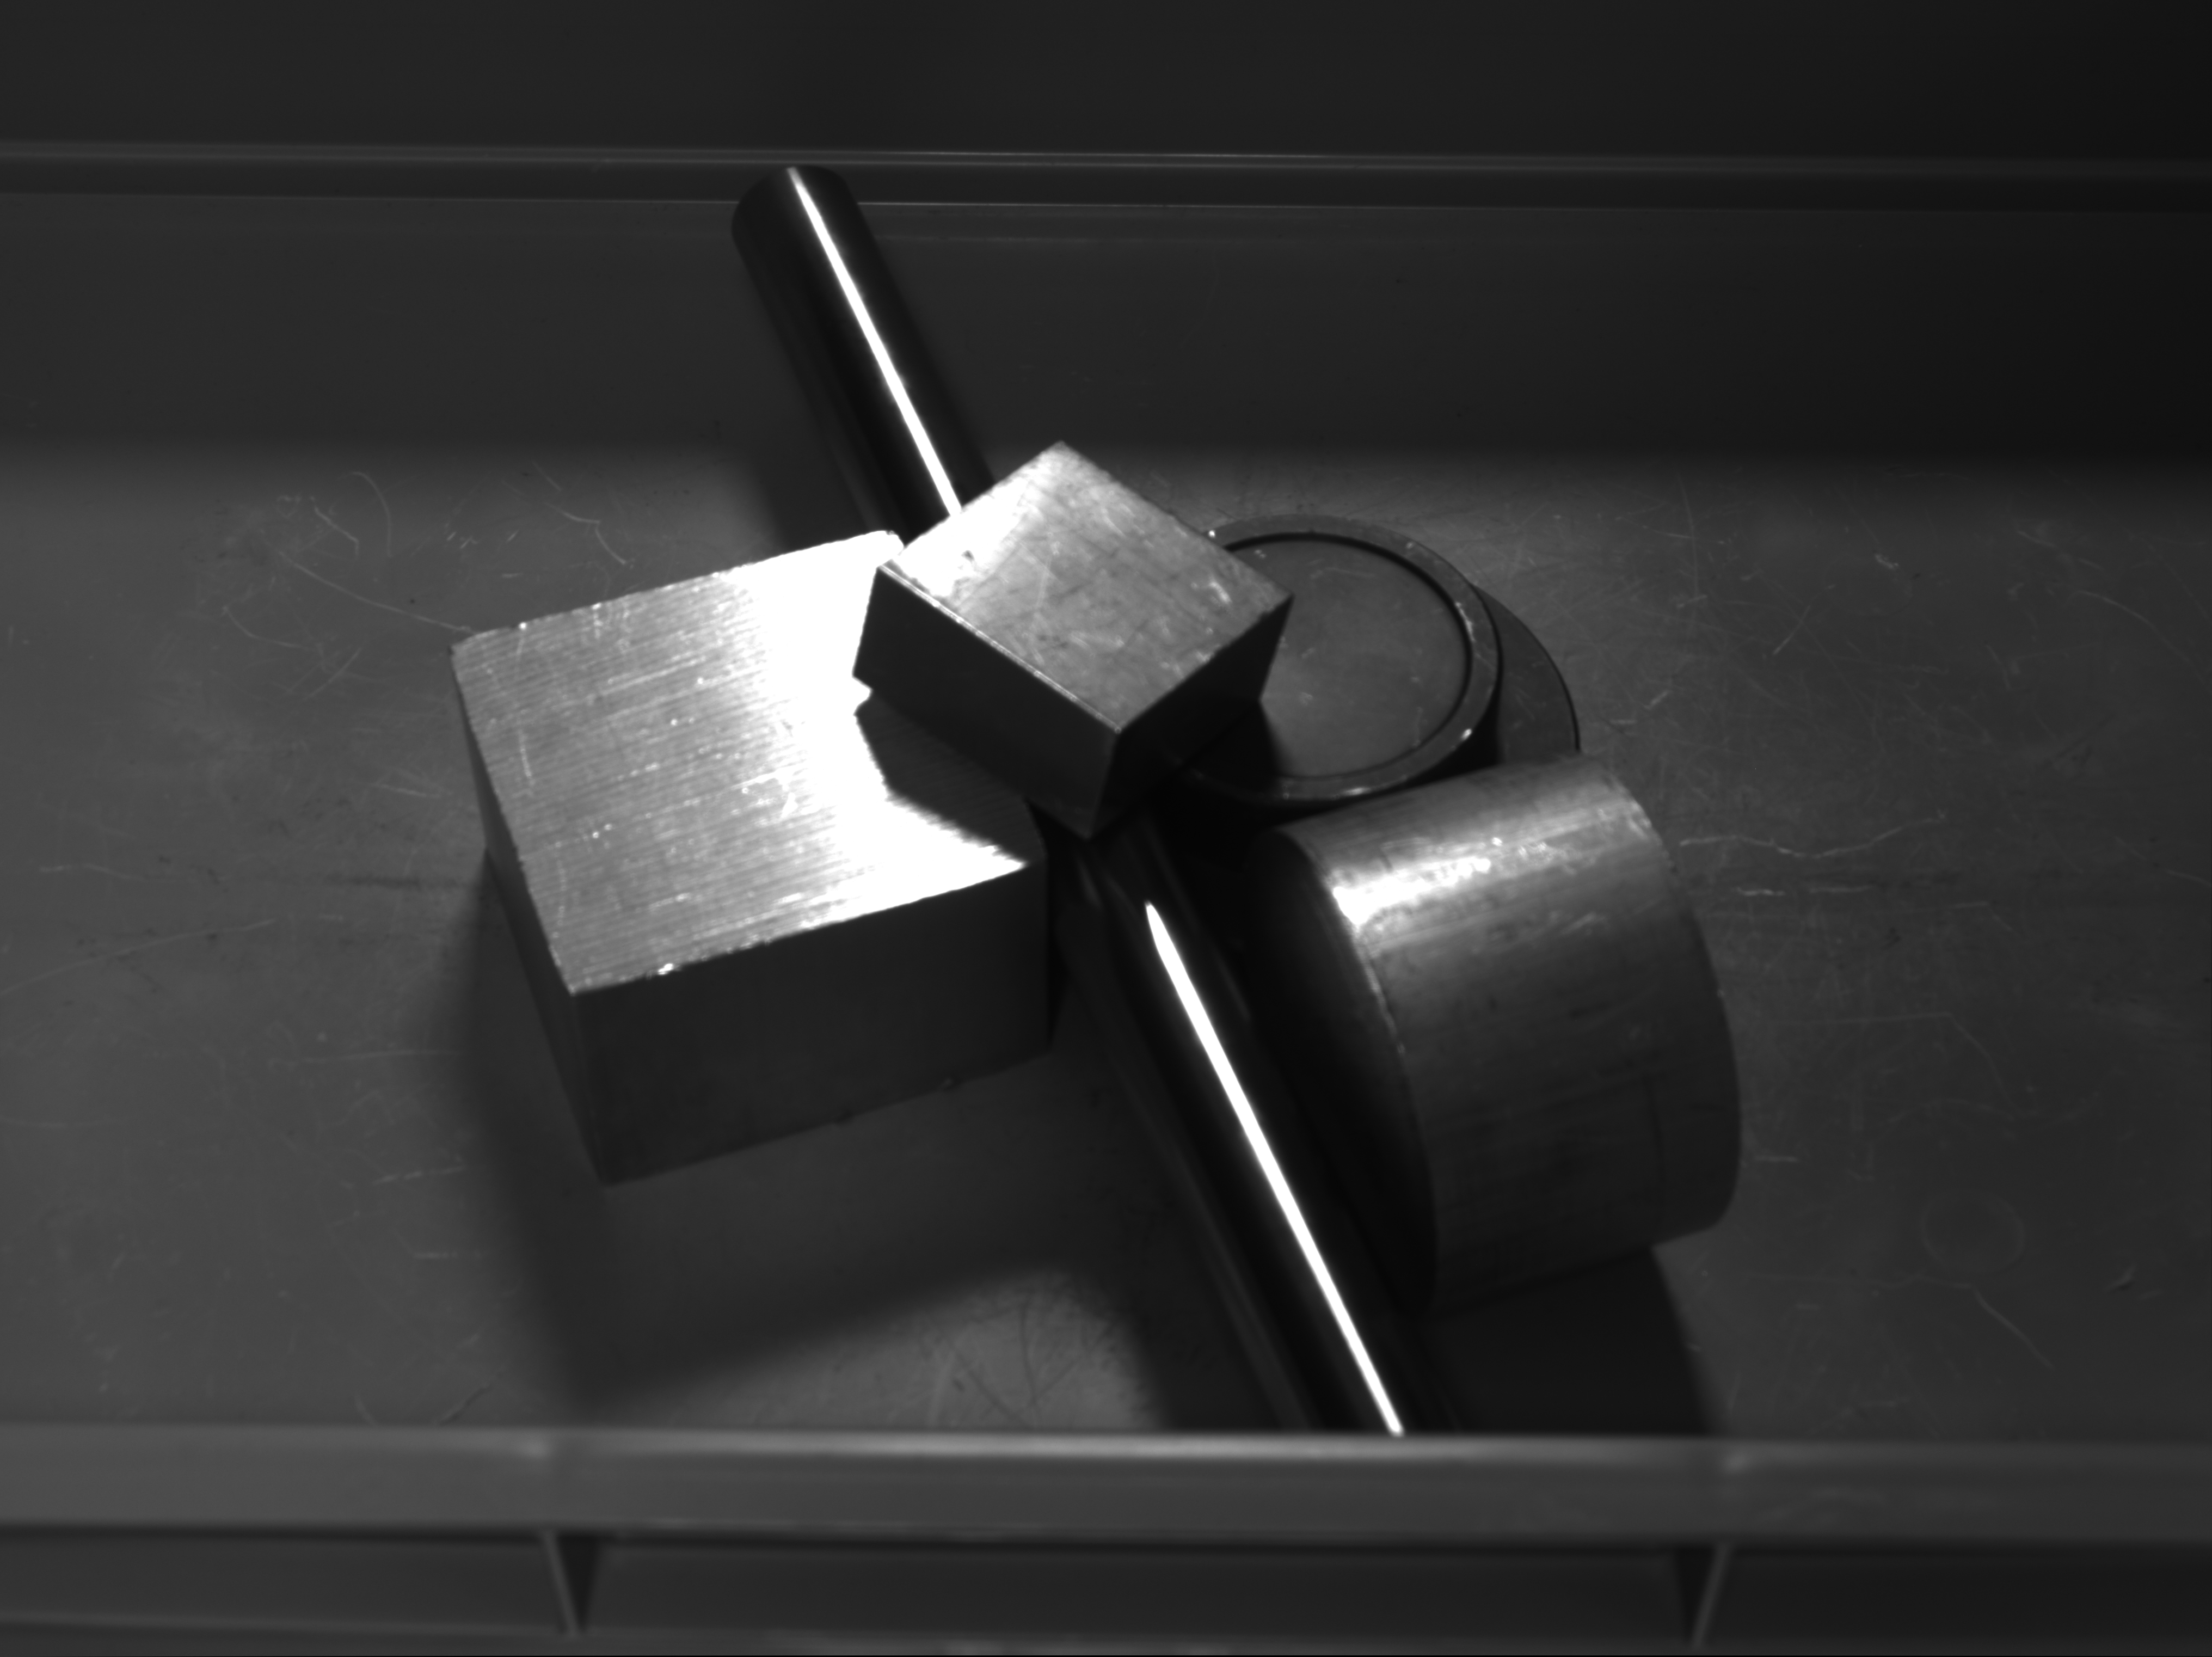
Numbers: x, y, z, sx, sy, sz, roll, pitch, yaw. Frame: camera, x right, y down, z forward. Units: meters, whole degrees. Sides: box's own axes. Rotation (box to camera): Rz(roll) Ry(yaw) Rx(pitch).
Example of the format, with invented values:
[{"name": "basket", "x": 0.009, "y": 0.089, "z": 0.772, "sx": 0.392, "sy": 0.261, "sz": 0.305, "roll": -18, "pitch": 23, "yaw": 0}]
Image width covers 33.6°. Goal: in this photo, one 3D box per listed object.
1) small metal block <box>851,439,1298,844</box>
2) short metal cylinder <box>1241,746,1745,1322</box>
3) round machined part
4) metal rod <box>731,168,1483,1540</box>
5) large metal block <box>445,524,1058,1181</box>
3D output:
[{"name": "small metal block", "x": -0.005, "y": -0.032, "z": 0.604, "sx": 0.050, "sy": 0.025, "sz": 0.050, "roll": 35, "pitch": 47, "yaw": 18}, {"name": "short metal cylinder", "x": 0.059, "y": 0.032, "z": 0.577, "sx": 0.050, "sy": 0.080, "sz": 0.080, "roll": -16, "pitch": 52, "yaw": -13}, {"name": "round machined part", "x": 0.035, "y": -0.017, "z": 0.643, "sx": 0.098, "sy": 0.042, "sz": 0.098, "roll": 0, "pitch": 50, "yaw": 0}, {"name": "metal rod", "x": -0.009, "y": -0.011, "z": 0.623, "sx": 0.025, "sy": 0.025, "sz": 0.299, "roll": -16, "pitch": 52, "yaw": -13}, {"name": "large metal block", "x": -0.060, "y": 0.003, "z": 0.619, "sx": 0.080, "sy": 0.050, "sz": 0.080, "roll": -16, "pitch": 52, "yaw": -13}]
